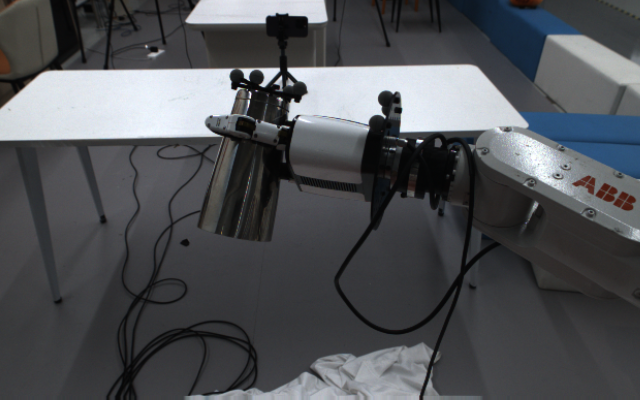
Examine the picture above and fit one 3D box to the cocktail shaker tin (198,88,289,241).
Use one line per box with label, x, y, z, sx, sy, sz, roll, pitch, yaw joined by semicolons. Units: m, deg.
cocktail shaker tin;-0.083;-0.045;0.591;0.093;0.170;0.093;13;1;0
